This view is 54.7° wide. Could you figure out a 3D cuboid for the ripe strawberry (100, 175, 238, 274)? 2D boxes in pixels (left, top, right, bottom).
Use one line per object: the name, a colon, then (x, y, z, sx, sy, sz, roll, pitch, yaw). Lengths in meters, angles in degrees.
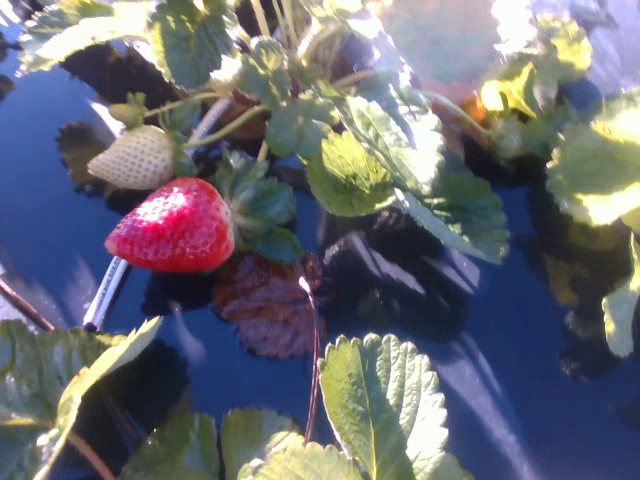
ripe strawberry: (-0.071, -0.008, 0.305, 0.080, 0.063, 0.040, -18, -3, -32)
